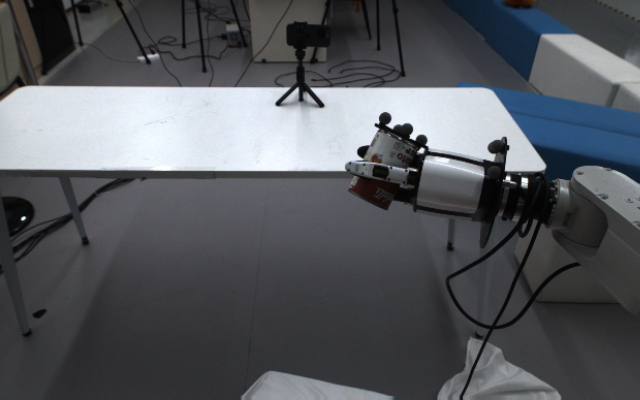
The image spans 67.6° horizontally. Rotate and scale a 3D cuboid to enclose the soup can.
[{"bbox_3d":[0.093,-0.045,0.711,0.067,0.101,0.067,26,5,-3],"label":"soup can"}]
